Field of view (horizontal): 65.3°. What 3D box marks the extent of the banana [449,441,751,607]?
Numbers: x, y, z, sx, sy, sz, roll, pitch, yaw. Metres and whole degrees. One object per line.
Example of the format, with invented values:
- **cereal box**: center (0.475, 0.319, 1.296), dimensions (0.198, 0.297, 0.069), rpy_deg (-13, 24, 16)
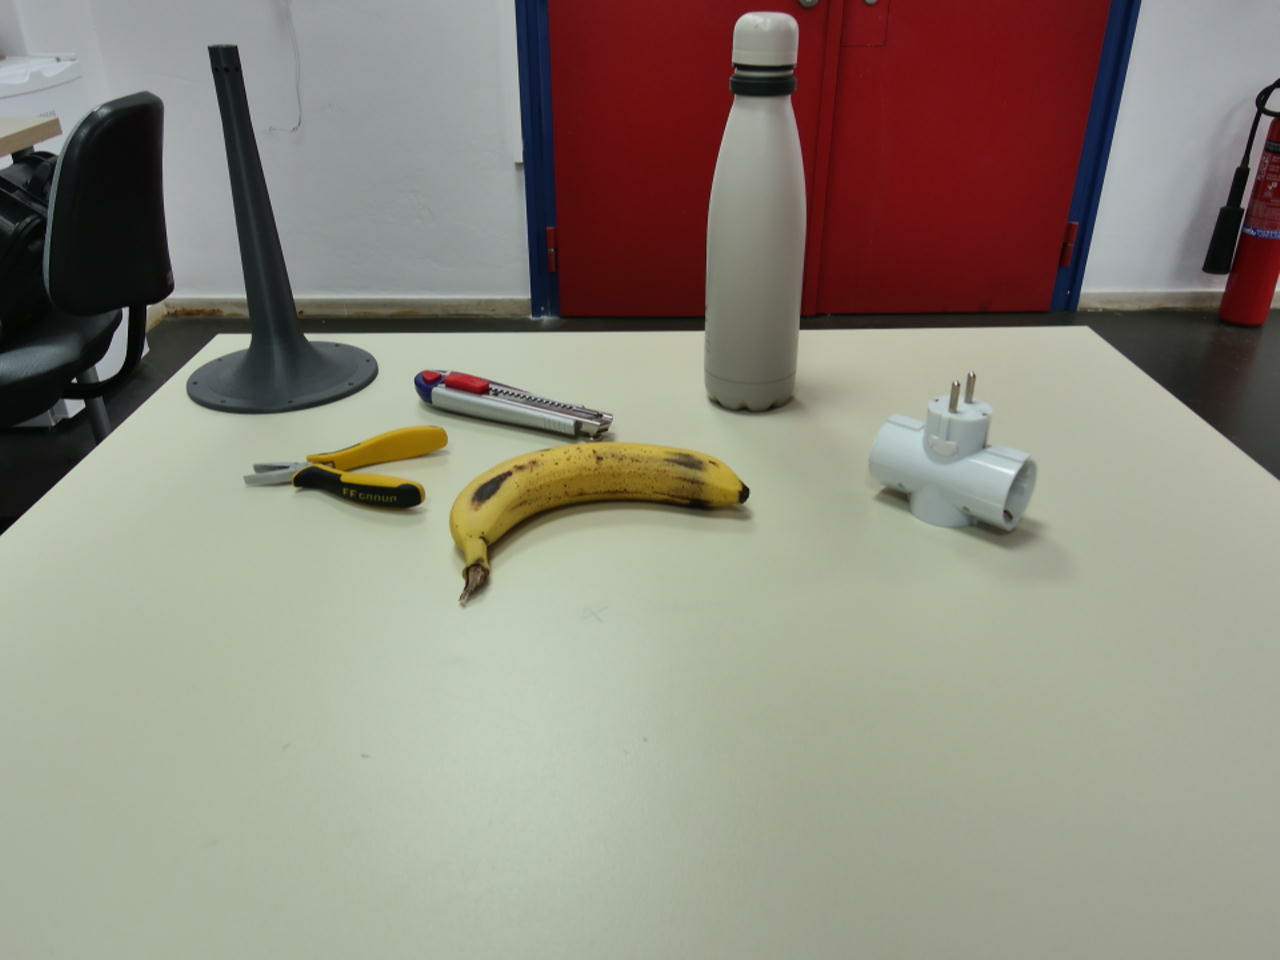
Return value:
- **banana**: center (-0.034, 0.010, 0.613), dimensions (0.186, 0.038, 0.097), rpy_deg (-14, 29, -25)
